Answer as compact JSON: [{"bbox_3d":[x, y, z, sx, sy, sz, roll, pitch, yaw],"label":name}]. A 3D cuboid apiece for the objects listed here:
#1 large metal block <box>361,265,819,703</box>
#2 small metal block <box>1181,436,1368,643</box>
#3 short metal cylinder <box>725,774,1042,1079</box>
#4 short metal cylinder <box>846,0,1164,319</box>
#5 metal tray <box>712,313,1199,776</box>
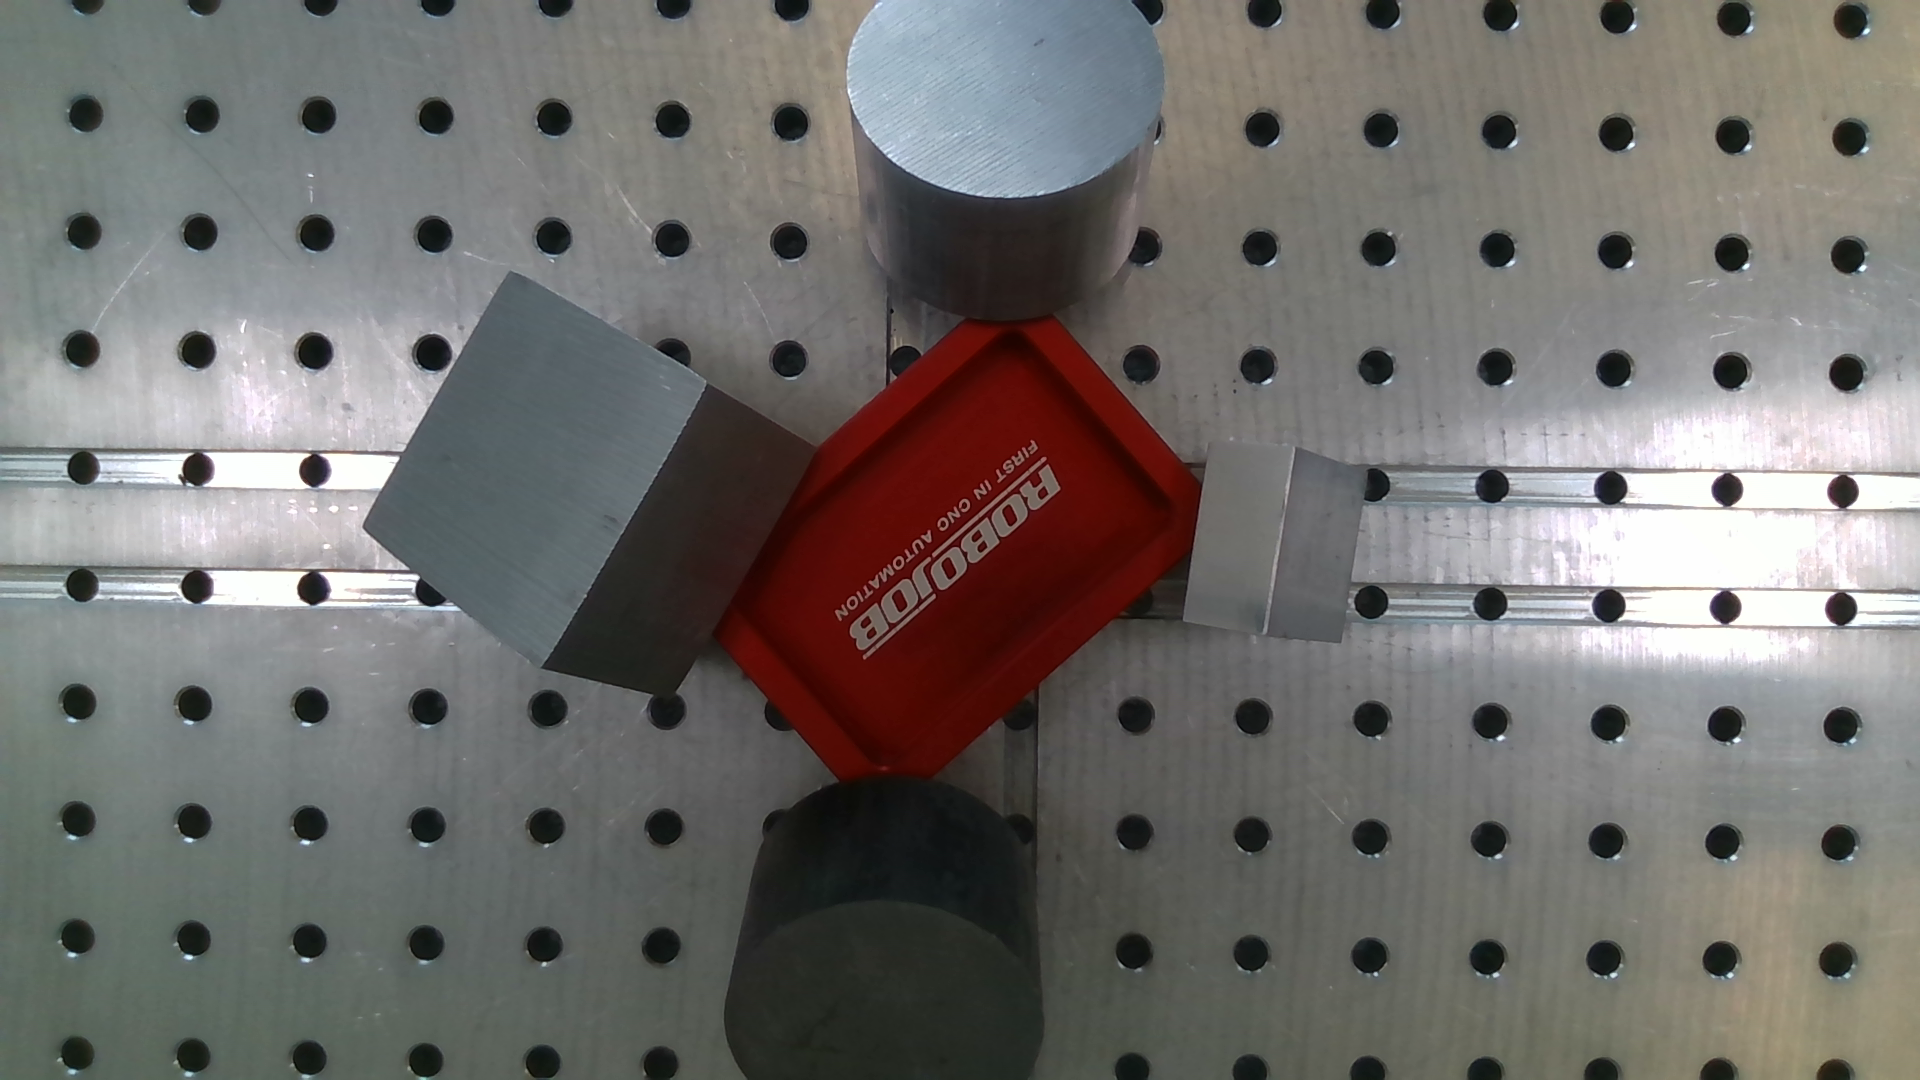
[{"bbox_3d":[-0.099,-0.015,0.368,0.080,0.050,0.080,31,90,30],"label":"large metal block"},{"bbox_3d":[0.088,0.001,0.383,0.025,0.050,0.050,9,90,38],"label":"small metal block"},{"bbox_3d":[-0.019,0.111,0.370,0.080,0.050,0.080,0,116,0],"label":"short metal cylinder"},{"bbox_3d":[0.011,-0.107,0.370,0.080,0.050,0.080,0,64,0],"label":"short metal cylinder"},{"bbox_3d":[-0.003,0.003,0.395,0.130,0.030,0.090,-41,90,0],"label":"metal tray"}]
